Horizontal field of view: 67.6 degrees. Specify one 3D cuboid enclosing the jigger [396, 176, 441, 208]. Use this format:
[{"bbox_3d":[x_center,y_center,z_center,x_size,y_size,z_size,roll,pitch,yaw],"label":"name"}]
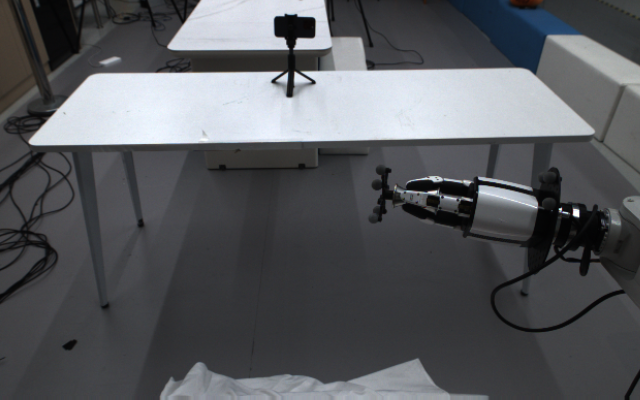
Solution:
[{"bbox_3d":[0.156,-0.006,0.756,0.071,0.043,0.043,7,35,14],"label":"jigger"}]
